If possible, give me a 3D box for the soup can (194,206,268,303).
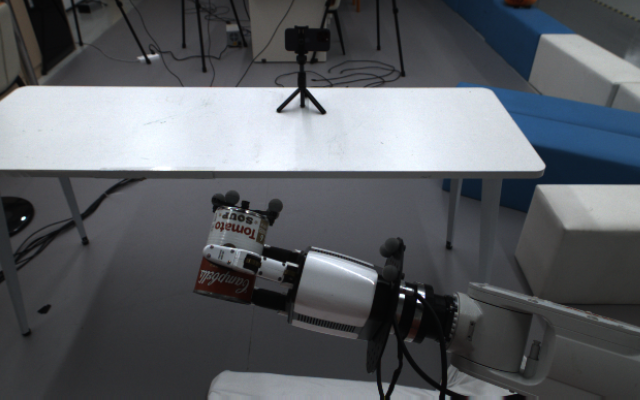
[{"bbox_3d":[-0.101,0.066,0.568,0.067,0.067,0.101,9,74,9],"label":"soup can"}]
